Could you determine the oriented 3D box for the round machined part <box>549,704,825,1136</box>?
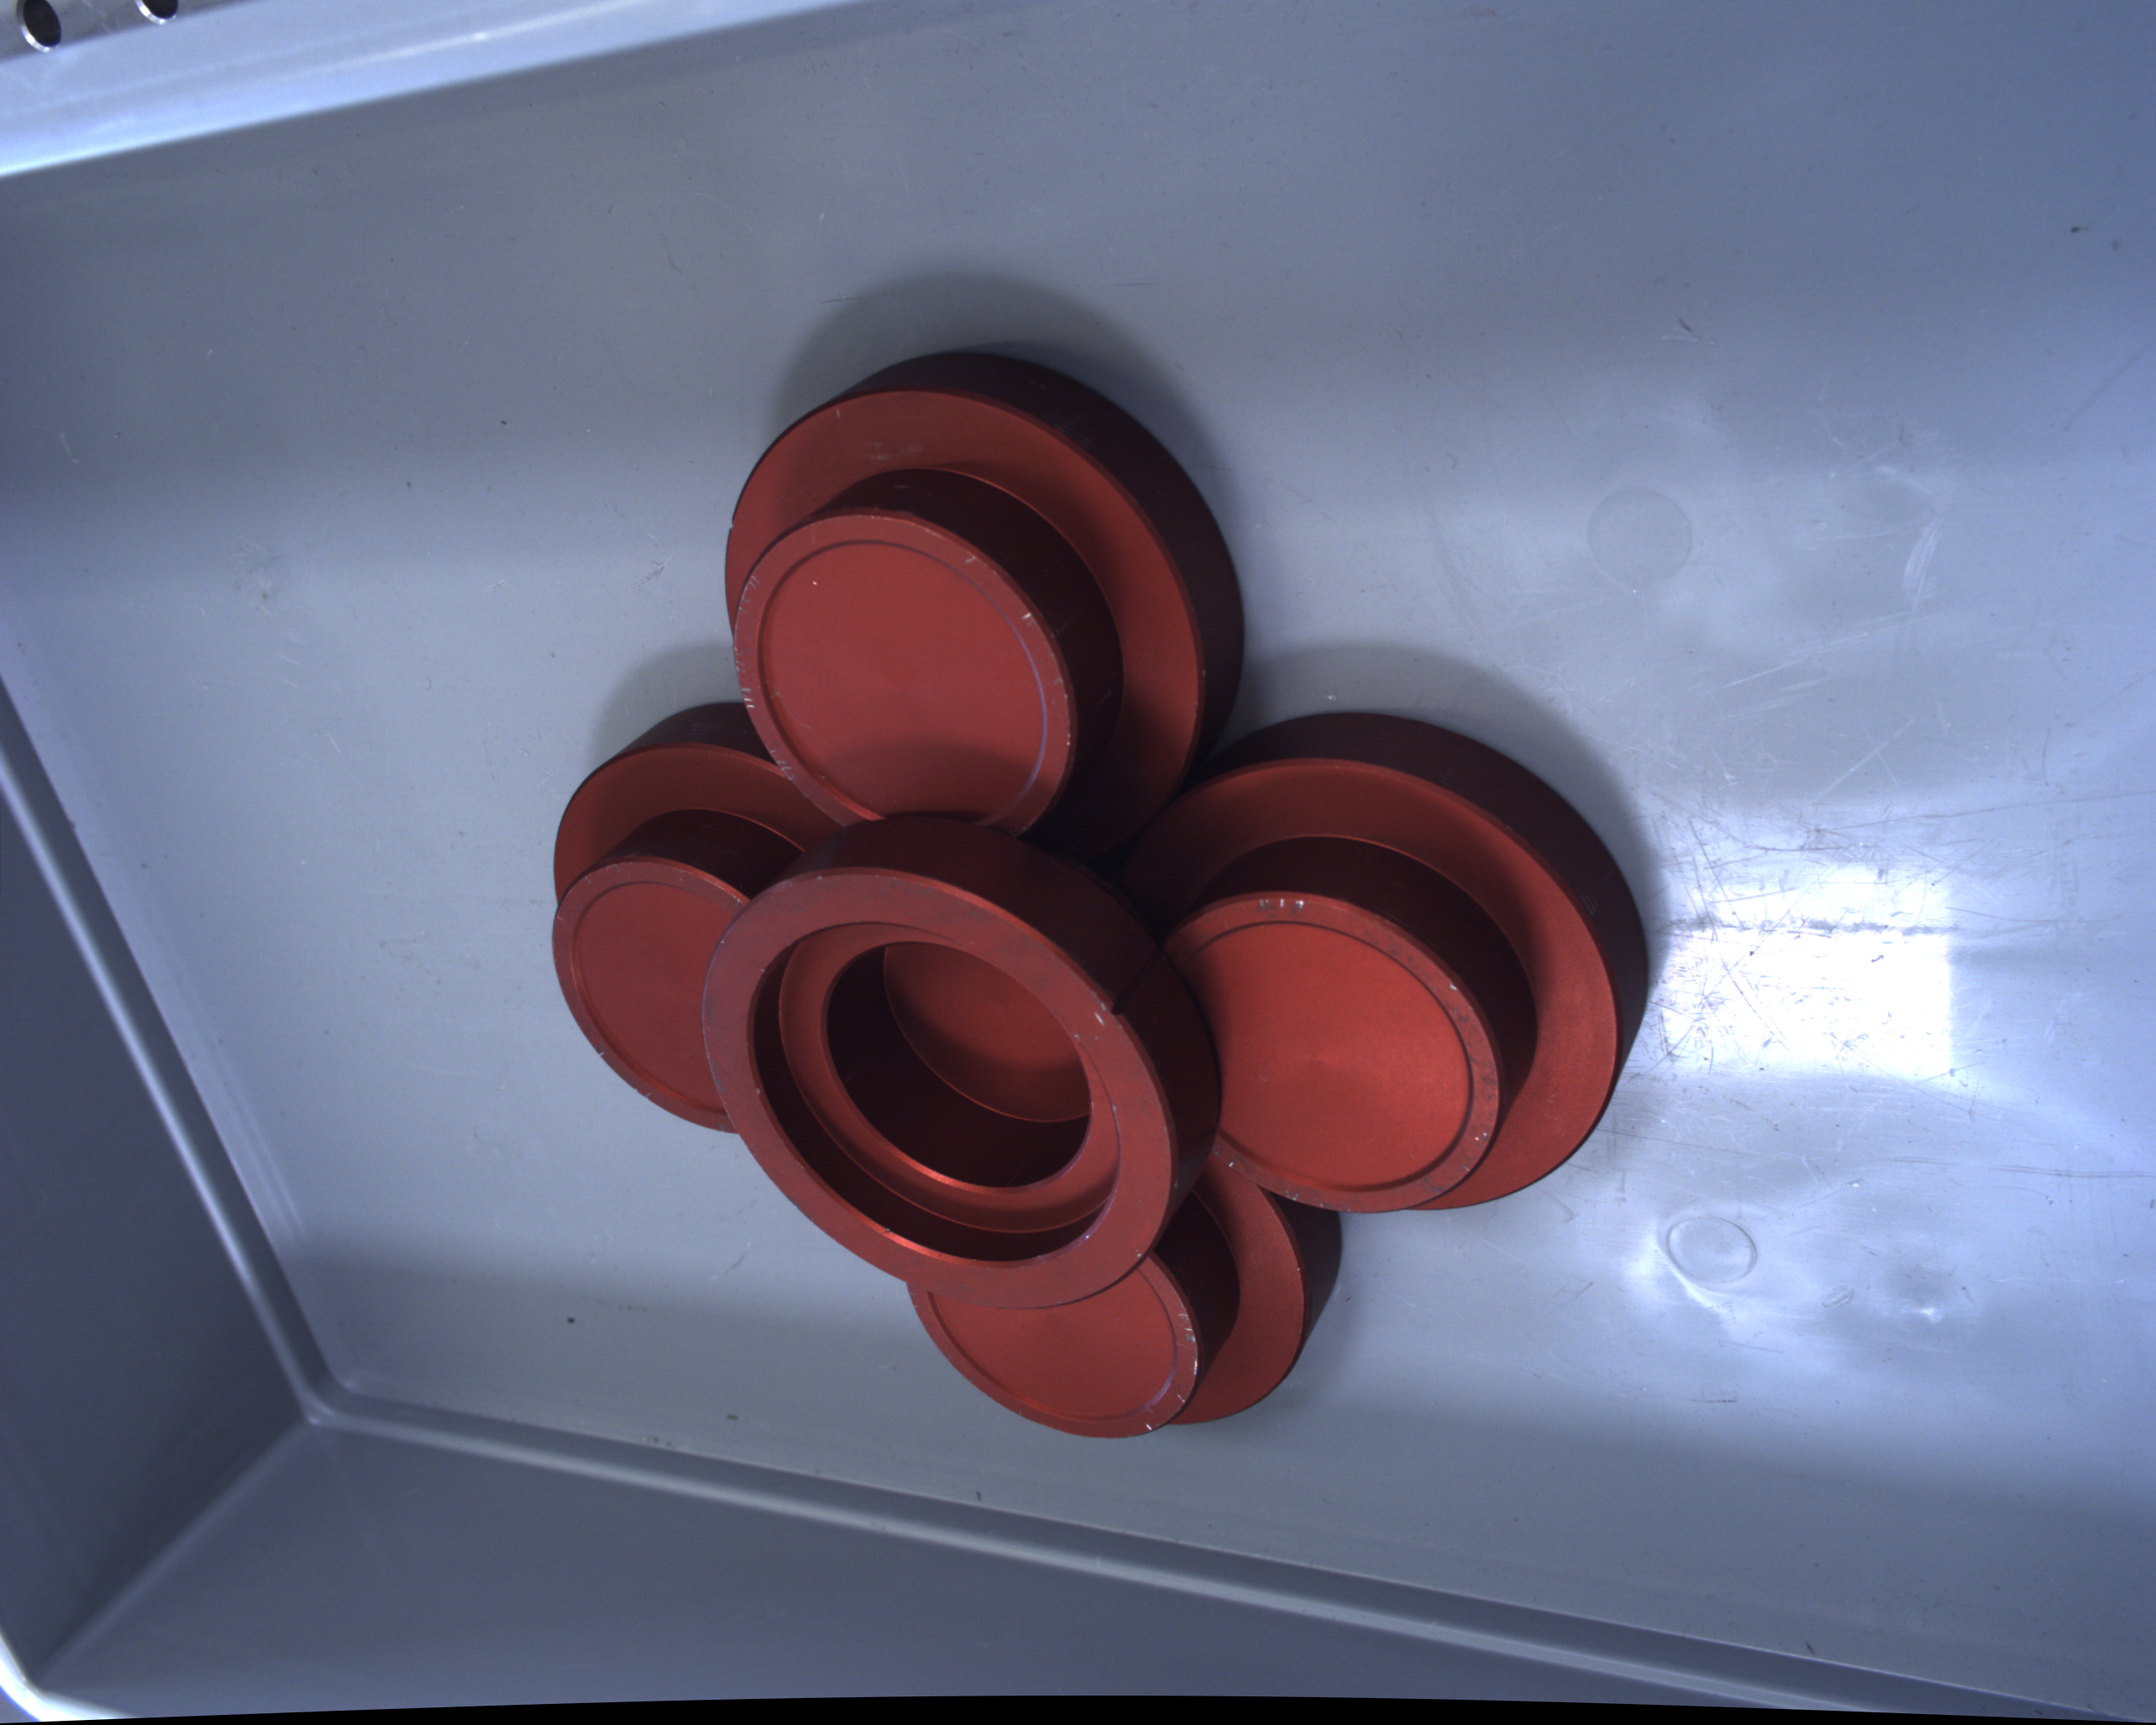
[{"bbox_3d":[-0.072,0.019,0.444,0.098,0.042,0.097,13,124,21],"label":"round machined part"}]

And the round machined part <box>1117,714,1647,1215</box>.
[{"bbox_3d":[0.051,0.025,0.384,0.098,0.042,0.097,13,124,21],"label":"round machined part"}]

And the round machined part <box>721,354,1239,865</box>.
[{"bbox_3d":[-0.024,-0.039,0.382,0.098,0.042,0.097,13,124,21],"label":"round machined part"}]

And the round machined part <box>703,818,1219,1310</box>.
[{"bbox_3d":[-0.019,0.034,0.399,0.098,0.042,0.097,13,124,21],"label":"round machined part"}]

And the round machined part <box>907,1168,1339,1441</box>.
[{"bbox_3d":[0.002,0.083,0.445,0.098,0.042,0.097,12,122,20],"label":"round machined part"}]
